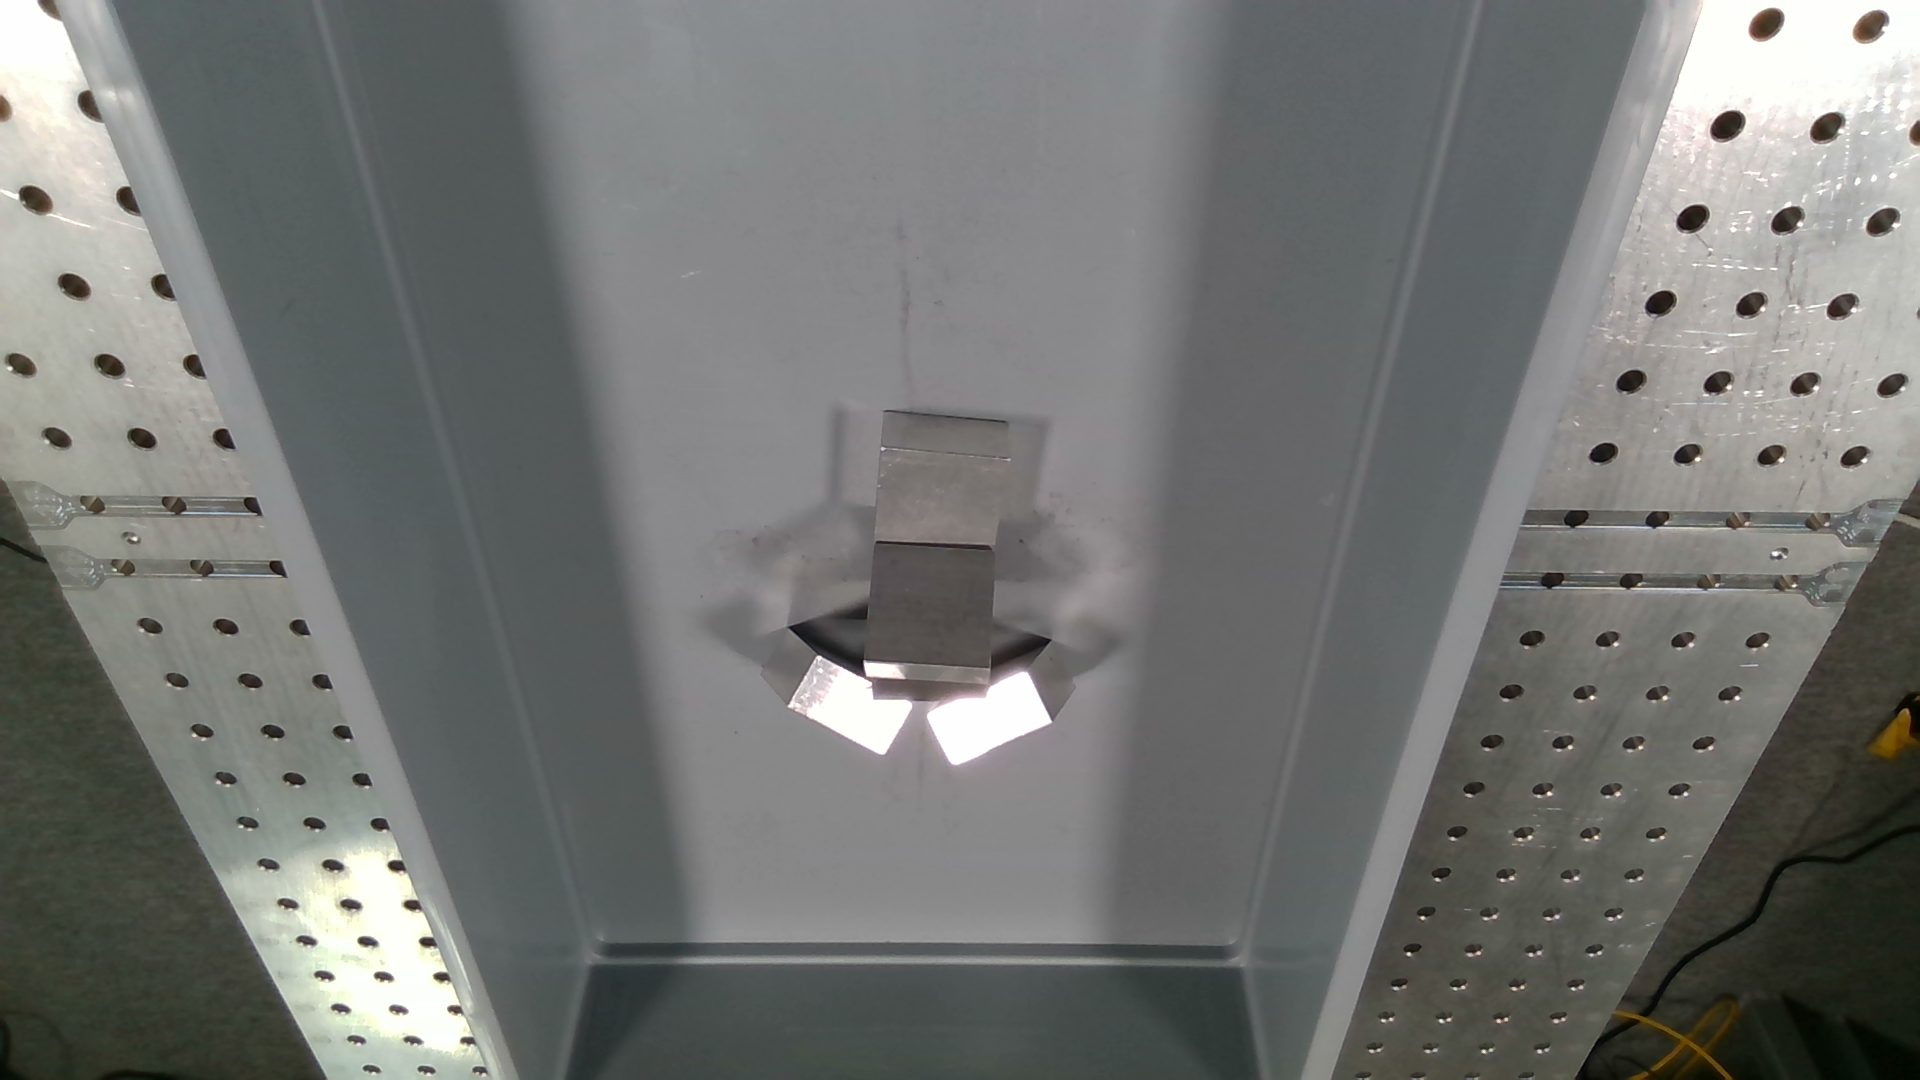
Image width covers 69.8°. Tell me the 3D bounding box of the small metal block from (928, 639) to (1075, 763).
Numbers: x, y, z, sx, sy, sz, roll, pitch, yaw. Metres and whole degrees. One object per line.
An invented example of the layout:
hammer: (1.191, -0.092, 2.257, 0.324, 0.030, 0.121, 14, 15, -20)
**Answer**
small metal block: (0.020, 0.072, 0.618, 0.050, 0.050, 0.025, -26, 93, 20)

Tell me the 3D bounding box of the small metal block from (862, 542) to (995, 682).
small metal block: (-0.012, 0.030, 0.563, 0.050, 0.050, 0.025, 4, 161, 0)

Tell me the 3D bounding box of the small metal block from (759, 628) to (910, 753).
small metal block: (-0.056, 0.066, 0.613, 0.050, 0.050, 0.025, 31, 88, -24)

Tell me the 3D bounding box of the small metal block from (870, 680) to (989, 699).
small metal block: (-0.013, 0.042, 0.597, 0.050, 0.050, 0.025, 1, 130, -1)

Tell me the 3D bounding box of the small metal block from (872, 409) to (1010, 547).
small metal block: (-0.008, -0.023, 0.557, 0.050, 0.025, 0.050, 5, 130, -4)
